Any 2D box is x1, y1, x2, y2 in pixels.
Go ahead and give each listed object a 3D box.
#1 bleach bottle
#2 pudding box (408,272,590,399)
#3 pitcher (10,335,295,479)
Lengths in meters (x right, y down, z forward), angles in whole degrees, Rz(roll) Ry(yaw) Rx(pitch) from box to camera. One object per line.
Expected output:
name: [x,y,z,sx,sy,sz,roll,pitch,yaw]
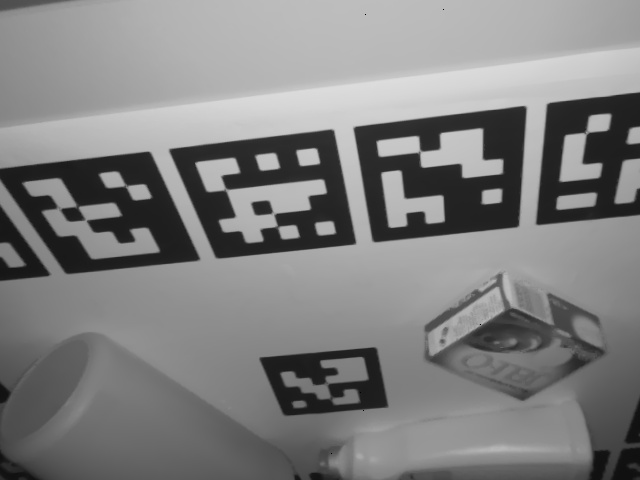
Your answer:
bleach bottle: [0.127,0.216,0.676,0.249,0.068,0.102,-11,128,13]
pudding box: [0.142,0.079,0.557,0.114,0.039,0.088,26,134,-20]
pitcher: [-0.152,0.194,0.635,0.186,0.135,0.243,-1,140,52]
